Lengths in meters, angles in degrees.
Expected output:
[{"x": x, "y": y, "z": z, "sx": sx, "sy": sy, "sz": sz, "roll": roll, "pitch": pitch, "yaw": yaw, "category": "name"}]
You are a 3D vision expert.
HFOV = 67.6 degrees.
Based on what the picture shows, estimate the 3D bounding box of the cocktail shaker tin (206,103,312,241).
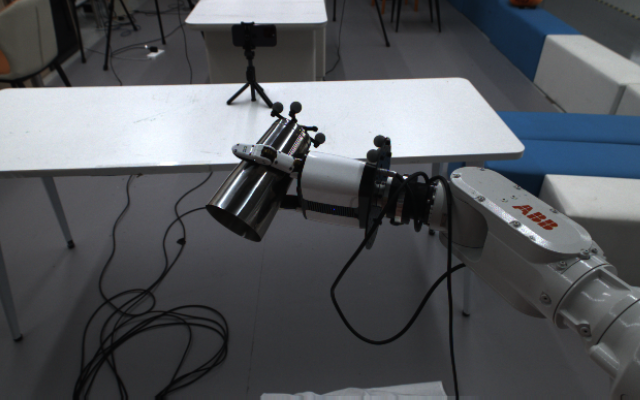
[{"x": -0.080, "y": -0.038, "z": 0.707, "sx": 0.093, "sy": 0.093, "sz": 0.170, "roll": 20, "pitch": 67, "yaw": 24, "category": "cocktail shaker tin"}]
